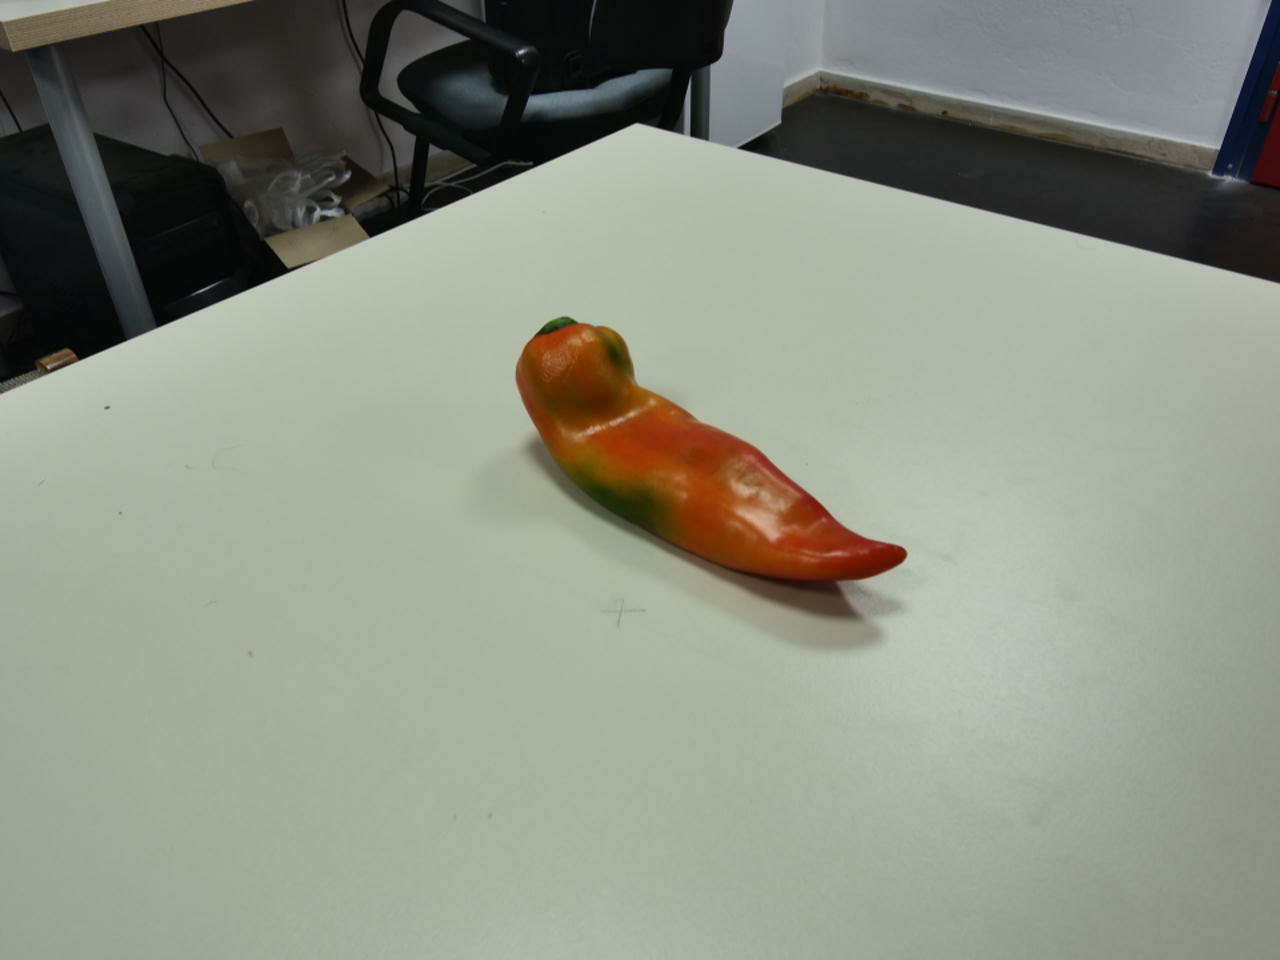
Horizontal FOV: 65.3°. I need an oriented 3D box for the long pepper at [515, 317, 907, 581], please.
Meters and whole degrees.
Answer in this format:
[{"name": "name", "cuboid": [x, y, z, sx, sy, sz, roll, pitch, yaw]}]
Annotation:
[{"name": "long pepper", "cuboid": [0.022, -0.013, 0.423, 0.066, 0.065, 0.199, -31, 46, -34]}]
